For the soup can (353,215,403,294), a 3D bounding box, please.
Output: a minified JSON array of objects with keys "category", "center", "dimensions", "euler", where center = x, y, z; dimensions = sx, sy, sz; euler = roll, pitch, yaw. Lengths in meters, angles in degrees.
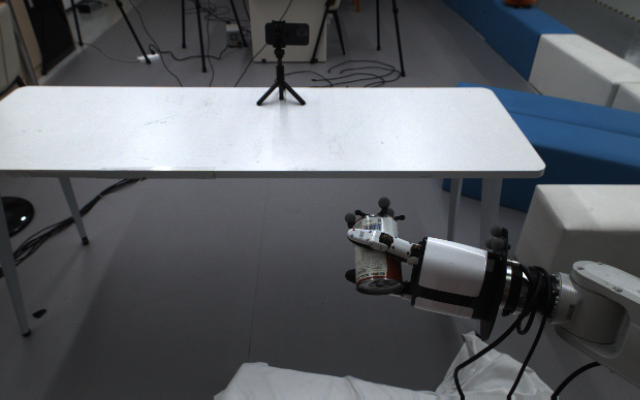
[{"category":"soup can","center":[0.086,0.080,0.708],"dimensions":[0.067,0.067,0.101],"euler":[1,62,-2]}]
